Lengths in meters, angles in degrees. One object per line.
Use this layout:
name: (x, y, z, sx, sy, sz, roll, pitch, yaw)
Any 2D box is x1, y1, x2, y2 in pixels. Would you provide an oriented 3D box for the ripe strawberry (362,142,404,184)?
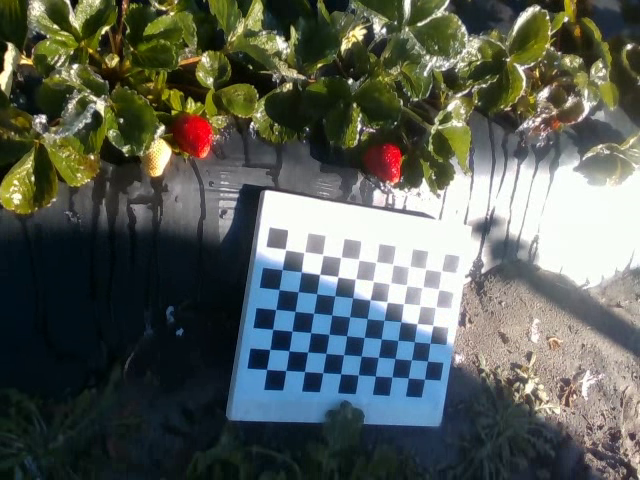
ripe strawberry: (0.082, -0.091, 0.658, 0.048, 0.061, 0.044, 0, -29, -21)

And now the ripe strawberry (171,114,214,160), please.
ripe strawberry: (-0.133, -0.104, 0.583, 0.042, 0.061, 0.046, -8, -35, -20)
